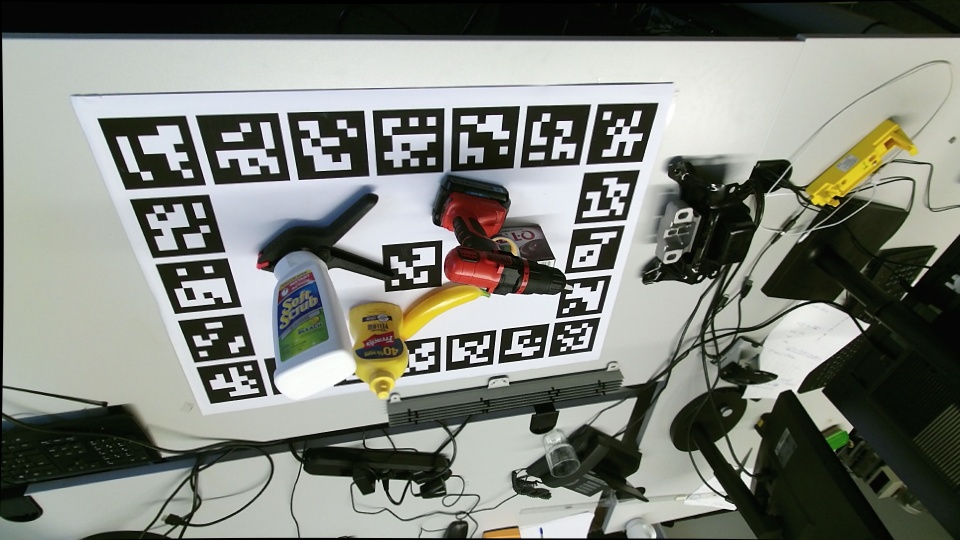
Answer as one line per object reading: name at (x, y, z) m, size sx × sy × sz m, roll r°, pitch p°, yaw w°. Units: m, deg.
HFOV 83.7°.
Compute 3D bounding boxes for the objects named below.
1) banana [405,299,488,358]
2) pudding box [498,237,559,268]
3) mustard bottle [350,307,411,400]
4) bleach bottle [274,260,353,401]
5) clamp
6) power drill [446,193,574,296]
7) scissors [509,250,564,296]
banana at (-0.078, 0.106, 0.990) m, size 0.197 × 0.038 × 0.074 m, roll -36°, pitch 144°, yaw 11°
pudding box at (0.067, -0.016, 0.915) m, size 0.114 × 0.089 × 0.038 m, roll -2°, pitch 133°, yaw -15°
mustard bottle at (-0.167, 0.142, 0.907) m, size 0.096 × 0.190 × 0.058 m, roll 7°, pitch 124°, yaw -20°
bleach bottle at (-0.253, 0.066, 0.764) m, size 0.103 × 0.250 × 0.068 m, roll -24°, pitch 133°, yaw -7°
clamp at (-0.242, -0.010, 0.844) m, size 0.203 × 0.036 × 0.165 m, roll -10°, pitch 126°, yaw -8°
power drill at (0.032, -0.034, 0.793) m, size 0.185 × 0.186 × 0.057 m, roll 4°, pitch 131°, yaw -23°
scissors at (0.090, 0.027, 0.872) m, size 0.204 × 0.016 × 0.087 m, roll 19°, pitch 115°, yaw -22°
